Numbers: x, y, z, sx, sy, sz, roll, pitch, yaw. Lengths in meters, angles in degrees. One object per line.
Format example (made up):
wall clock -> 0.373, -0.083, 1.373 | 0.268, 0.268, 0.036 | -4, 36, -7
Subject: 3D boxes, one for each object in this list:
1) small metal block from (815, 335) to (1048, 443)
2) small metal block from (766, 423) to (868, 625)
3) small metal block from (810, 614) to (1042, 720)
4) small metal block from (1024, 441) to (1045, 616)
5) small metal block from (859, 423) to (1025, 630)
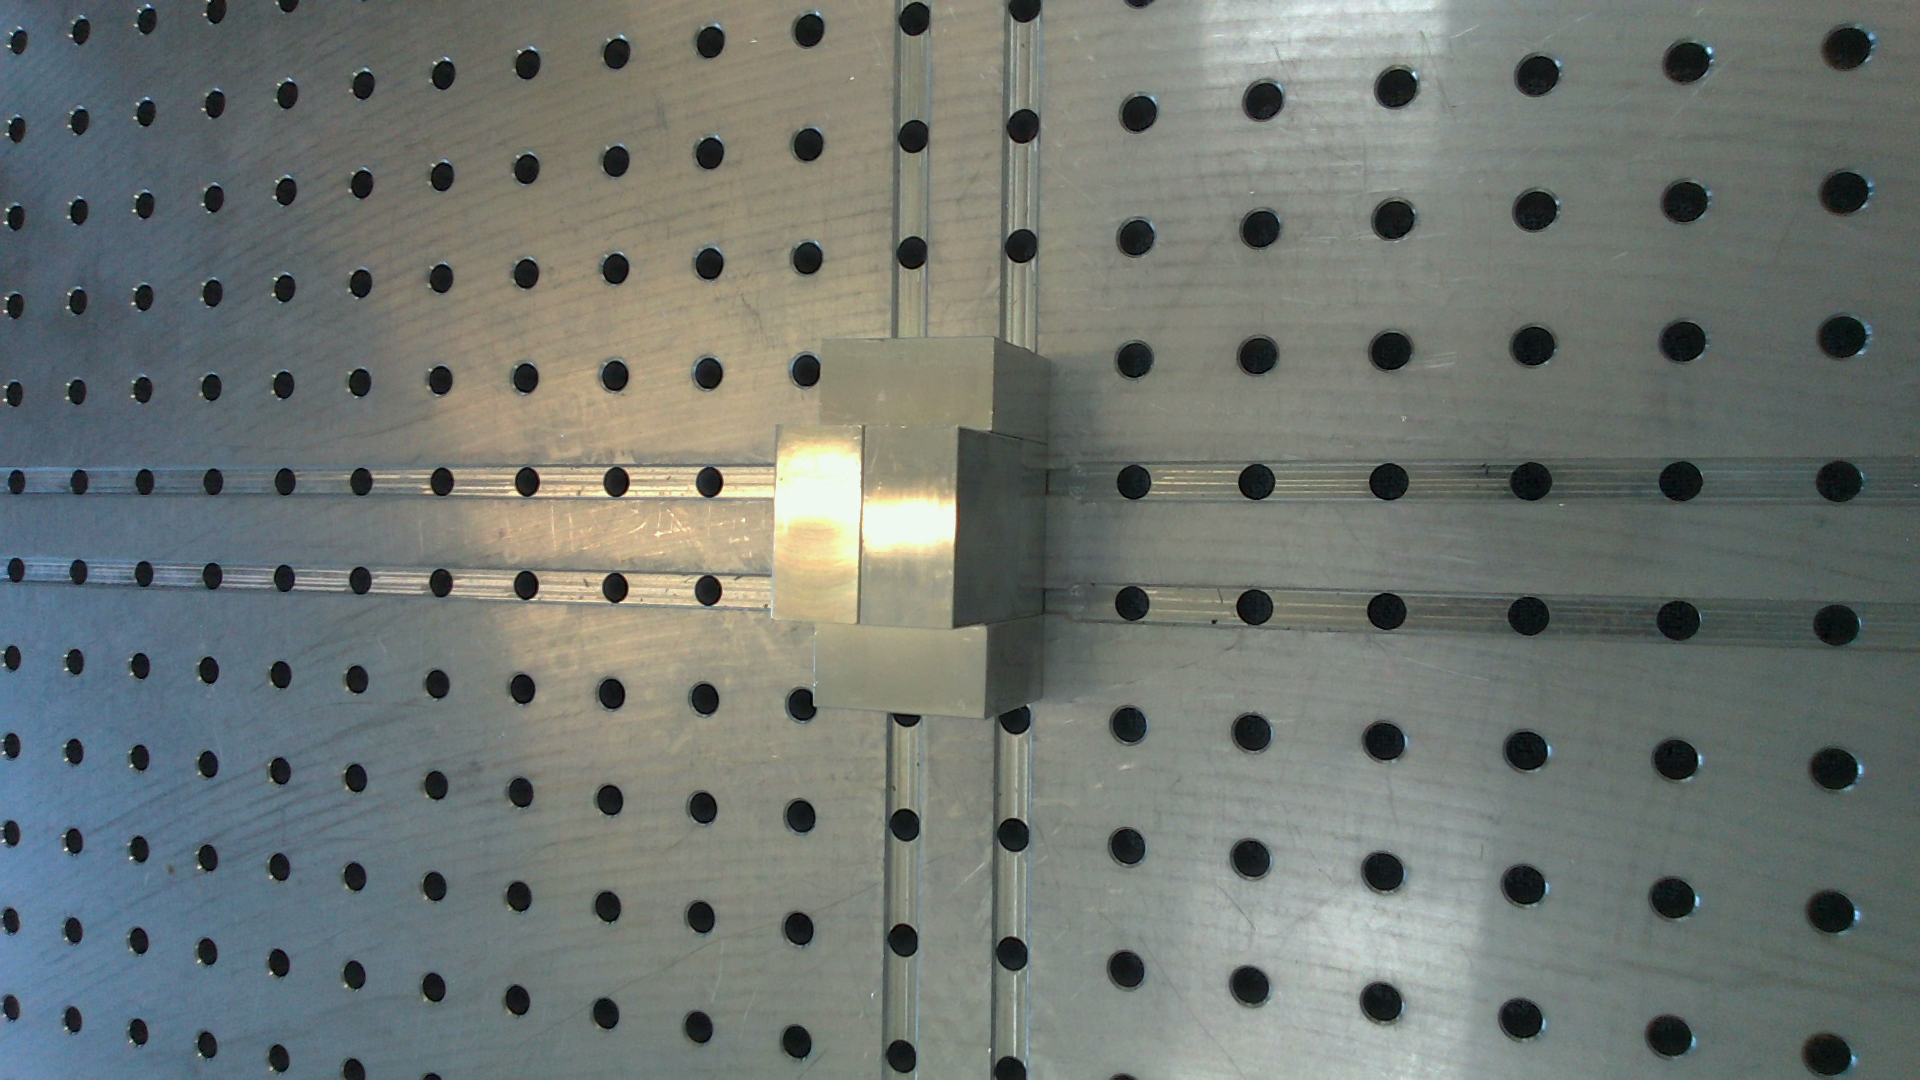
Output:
small metal block -> -0.007, -0.041, 0.387 | 0.050, 0.050, 0.025 | 2, 91, 20
small metal block -> -0.028, -0.004, 0.368 | 0.025, 0.050, 0.050 | 2, 91, 20
small metal block -> -0.008, 0.034, 0.388 | 0.050, 0.050, 0.025 | 2, 90, 20
small metal block -> -0.004, -0.004, 0.399 | 0.050, 0.025, 0.050 | 2, 91, 21
small metal block -> -0.004, -0.004, 0.360 | 0.025, 0.050, 0.050 | 2, 91, 21
